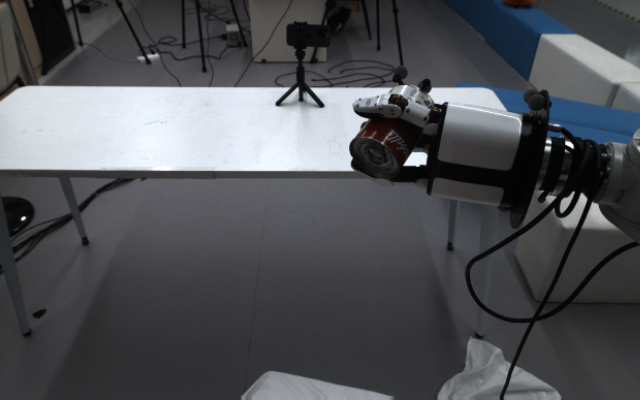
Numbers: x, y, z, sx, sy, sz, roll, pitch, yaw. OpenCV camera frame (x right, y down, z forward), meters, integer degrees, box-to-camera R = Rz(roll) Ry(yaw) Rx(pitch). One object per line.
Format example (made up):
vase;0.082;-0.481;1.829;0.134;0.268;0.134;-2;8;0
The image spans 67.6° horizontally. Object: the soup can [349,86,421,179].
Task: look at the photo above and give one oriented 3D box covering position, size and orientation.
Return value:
soup can;0.093;-0.085;0.590;0.067;0.067;0.101;22;60;26
